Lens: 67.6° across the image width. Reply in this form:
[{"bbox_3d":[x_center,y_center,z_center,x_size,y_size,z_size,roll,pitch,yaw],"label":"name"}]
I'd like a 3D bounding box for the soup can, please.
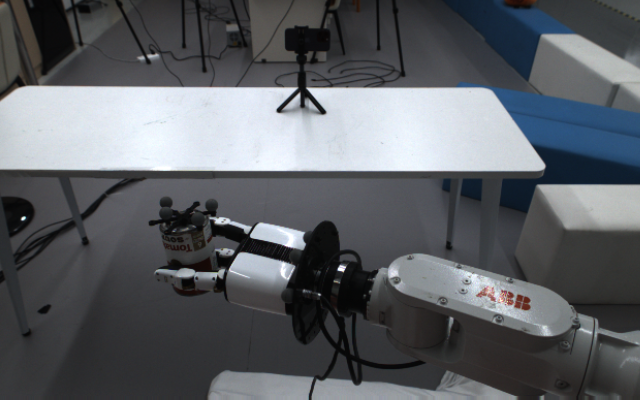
[{"bbox_3d":[-0.179,0.075,0.673,0.067,0.101,0.067,-3,26,2],"label":"soup can"}]
